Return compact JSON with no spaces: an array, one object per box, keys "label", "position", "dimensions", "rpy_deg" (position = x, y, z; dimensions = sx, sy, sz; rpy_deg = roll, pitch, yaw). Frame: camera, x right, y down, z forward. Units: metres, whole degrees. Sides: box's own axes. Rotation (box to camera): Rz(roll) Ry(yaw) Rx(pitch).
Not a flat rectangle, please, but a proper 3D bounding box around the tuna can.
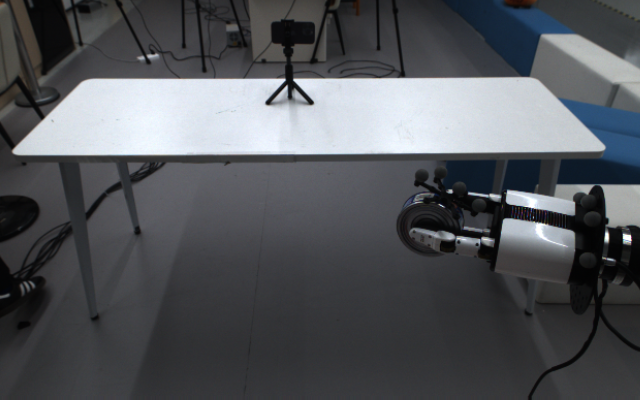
[{"label":"tuna can","position":[0.148,0.031,0.647],"dimensions":[0.085,0.085,0.034],"rpy_deg":[15,31,18]}]
